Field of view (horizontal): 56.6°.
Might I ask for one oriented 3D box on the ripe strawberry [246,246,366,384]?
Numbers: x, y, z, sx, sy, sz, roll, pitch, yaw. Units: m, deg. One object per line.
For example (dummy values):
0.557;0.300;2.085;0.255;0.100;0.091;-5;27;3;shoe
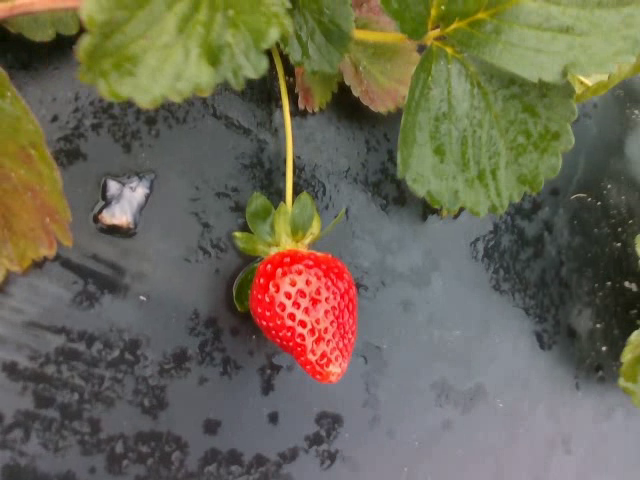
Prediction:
-0.003;0.026;0.205;0.045;0.053;0.048;-5;-26;-8;ripe strawberry
